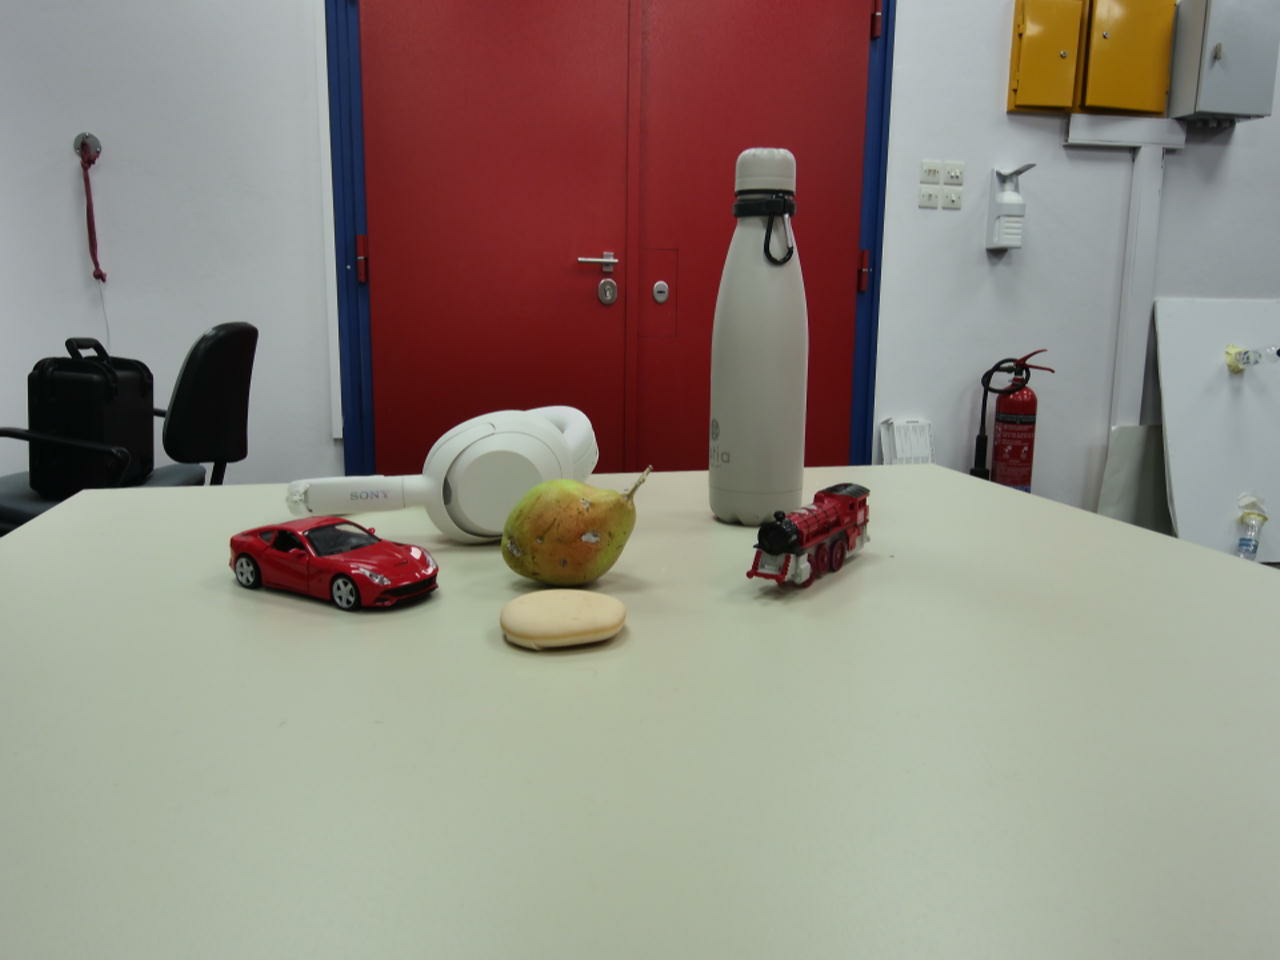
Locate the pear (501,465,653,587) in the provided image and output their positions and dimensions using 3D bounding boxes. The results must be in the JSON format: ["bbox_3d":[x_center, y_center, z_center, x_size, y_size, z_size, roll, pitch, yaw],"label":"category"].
[{"bbox_3d":[-0.040,0.027,0.581,0.070,0.069,0.068,6,10,38],"label":"pear"}]
